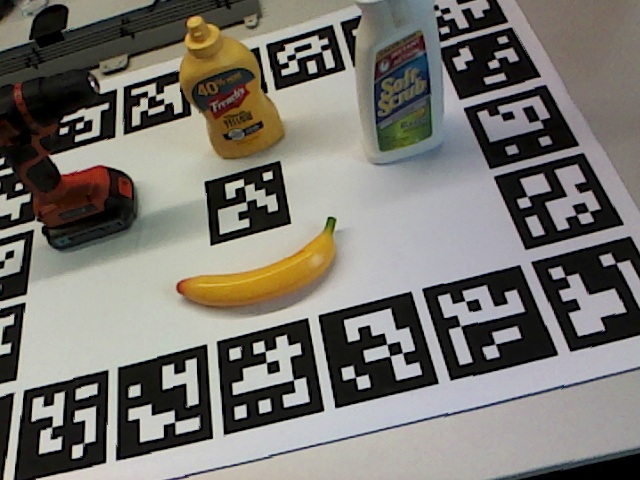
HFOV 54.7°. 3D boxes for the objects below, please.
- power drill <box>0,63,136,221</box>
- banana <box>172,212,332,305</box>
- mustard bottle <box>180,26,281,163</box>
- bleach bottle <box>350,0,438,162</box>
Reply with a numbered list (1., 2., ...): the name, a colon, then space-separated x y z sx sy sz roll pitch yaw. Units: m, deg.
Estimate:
1. power drill: -0.296 -0.108 0.717 0.185 0.186 0.057 -21 56 6
2. banana: -0.070 0.032 0.685 0.197 0.038 0.074 -20 58 5
3. mustard bottle: -0.115 -0.178 0.749 0.096 0.190 0.059 -20 56 0
4. bleach bottle: 0.073 -0.189 0.667 0.103 0.249 0.068 -7 57 10
